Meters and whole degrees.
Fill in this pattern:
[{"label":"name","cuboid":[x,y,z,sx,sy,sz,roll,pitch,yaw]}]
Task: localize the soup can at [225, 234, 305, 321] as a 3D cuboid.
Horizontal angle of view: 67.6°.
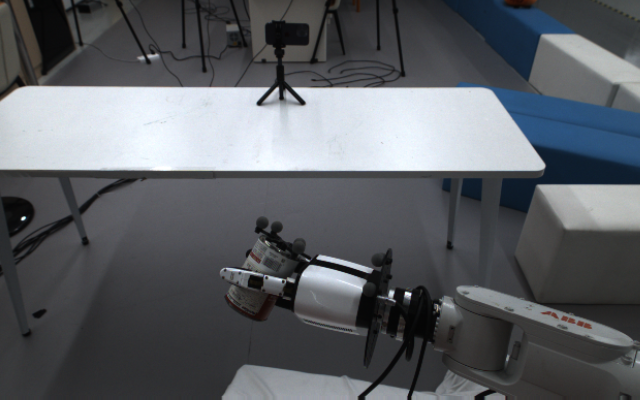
[{"label":"soup can","cuboid":[-0.078,0.109,0.674,0.067,0.101,0.067,30,2,-1]}]
